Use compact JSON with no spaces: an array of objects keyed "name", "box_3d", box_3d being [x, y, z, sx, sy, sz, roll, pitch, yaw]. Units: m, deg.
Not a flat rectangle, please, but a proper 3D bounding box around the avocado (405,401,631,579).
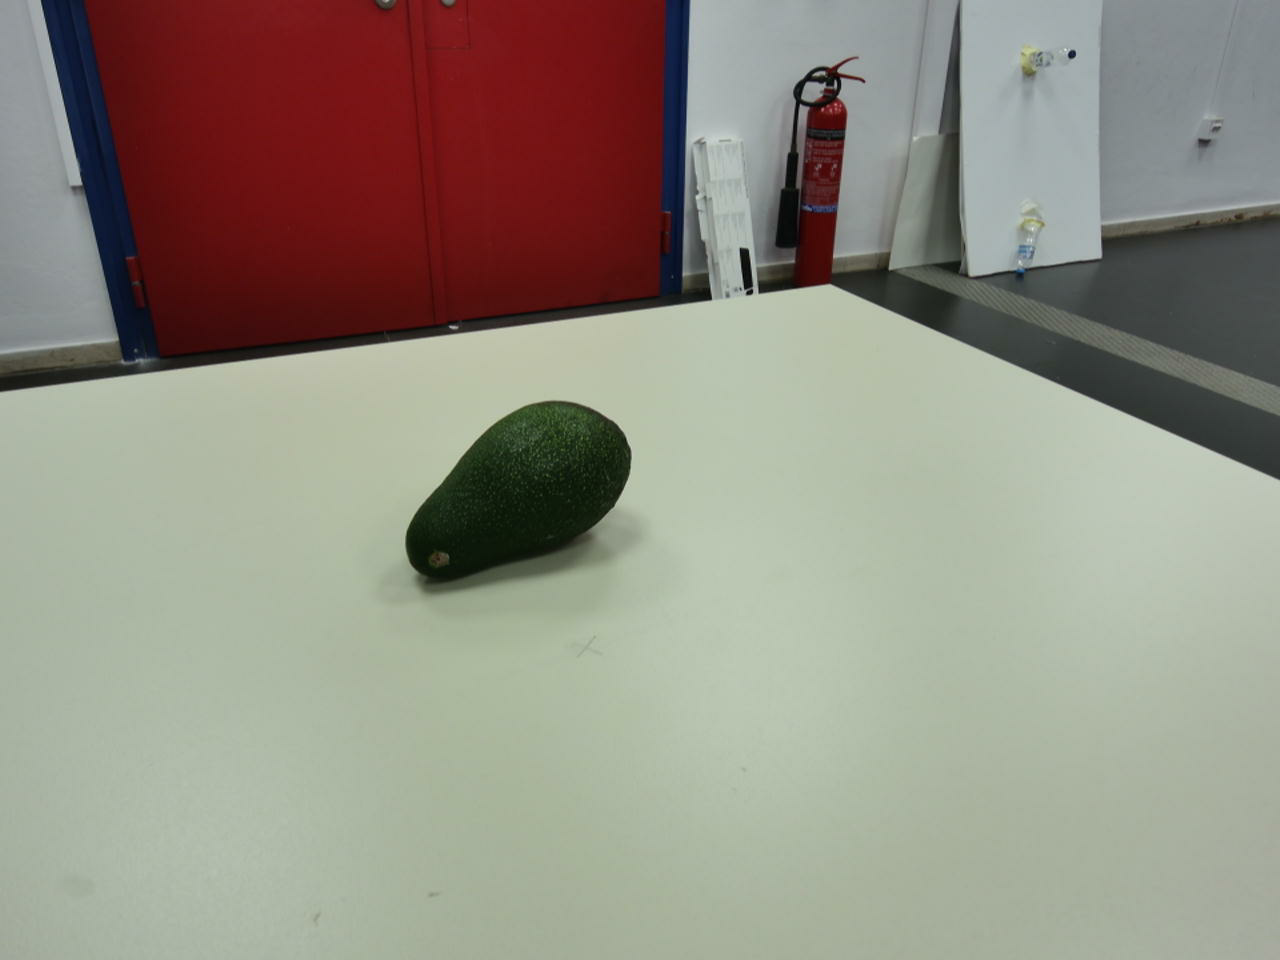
[{"name":"avocado","box_3d":[-0.064,-0.001,0.515,0.123,0.076,0.074,-8,27,-18]}]
